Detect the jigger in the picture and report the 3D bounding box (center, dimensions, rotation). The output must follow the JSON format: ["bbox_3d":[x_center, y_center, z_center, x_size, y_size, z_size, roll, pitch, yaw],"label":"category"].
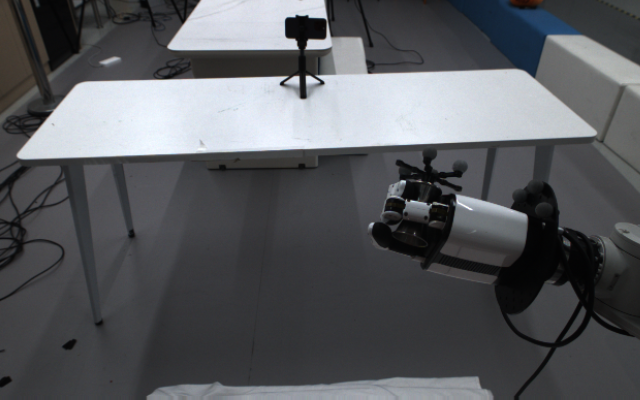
[{"bbox_3d":[0.117,0.014,0.573,0.043,0.043,0.071,15,70,18],"label":"jigger"}]
